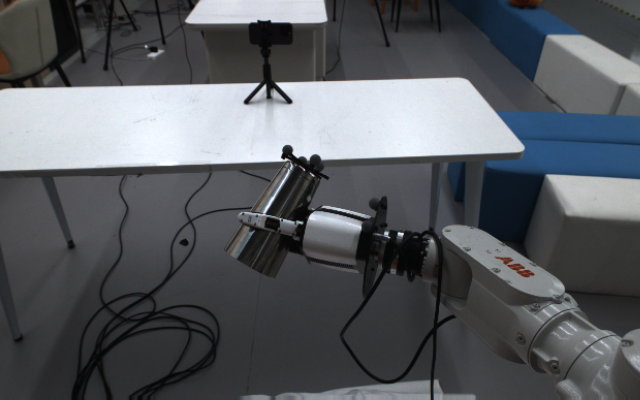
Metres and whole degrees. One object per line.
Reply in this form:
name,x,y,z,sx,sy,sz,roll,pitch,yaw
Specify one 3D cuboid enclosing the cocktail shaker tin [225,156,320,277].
cocktail shaker tin,-0.070,0.022,0.769,0.093,0.093,0.170,26,83,31
